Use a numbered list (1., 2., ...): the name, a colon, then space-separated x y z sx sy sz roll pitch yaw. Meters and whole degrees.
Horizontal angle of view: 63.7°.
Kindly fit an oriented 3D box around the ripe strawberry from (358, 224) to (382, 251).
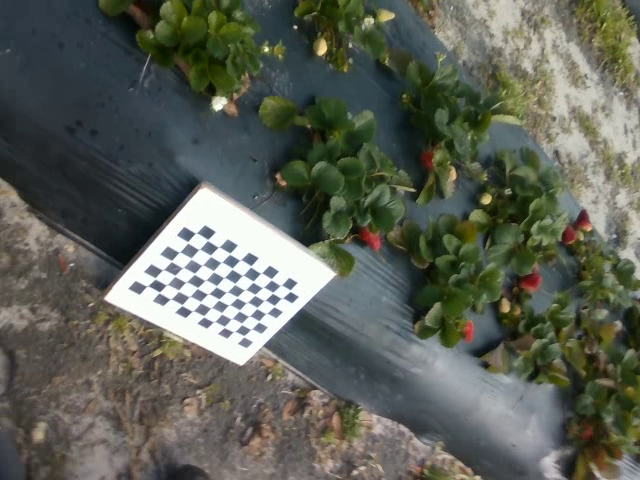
1. ripe strawberry: 0.096 -0.006 0.956 0.050 0.064 0.043 -20 30 -2
